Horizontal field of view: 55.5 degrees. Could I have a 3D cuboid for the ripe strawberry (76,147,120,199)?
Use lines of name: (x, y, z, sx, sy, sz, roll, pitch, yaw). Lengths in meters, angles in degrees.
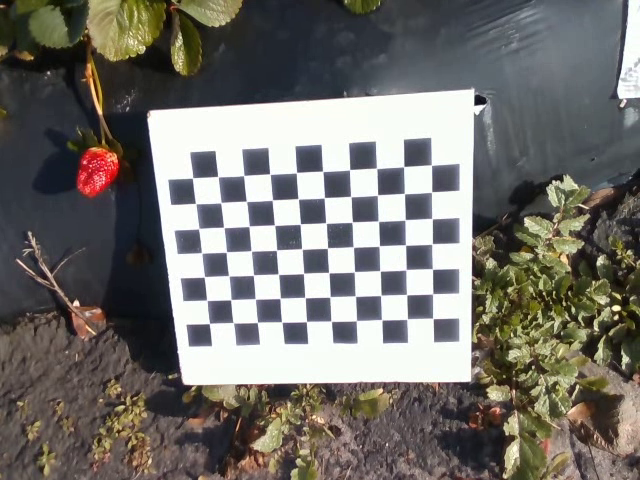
ripe strawberry: (-0.074, -0.023, 0.199, 0.015, 0.023, 0.015, 6, -36, 3)
